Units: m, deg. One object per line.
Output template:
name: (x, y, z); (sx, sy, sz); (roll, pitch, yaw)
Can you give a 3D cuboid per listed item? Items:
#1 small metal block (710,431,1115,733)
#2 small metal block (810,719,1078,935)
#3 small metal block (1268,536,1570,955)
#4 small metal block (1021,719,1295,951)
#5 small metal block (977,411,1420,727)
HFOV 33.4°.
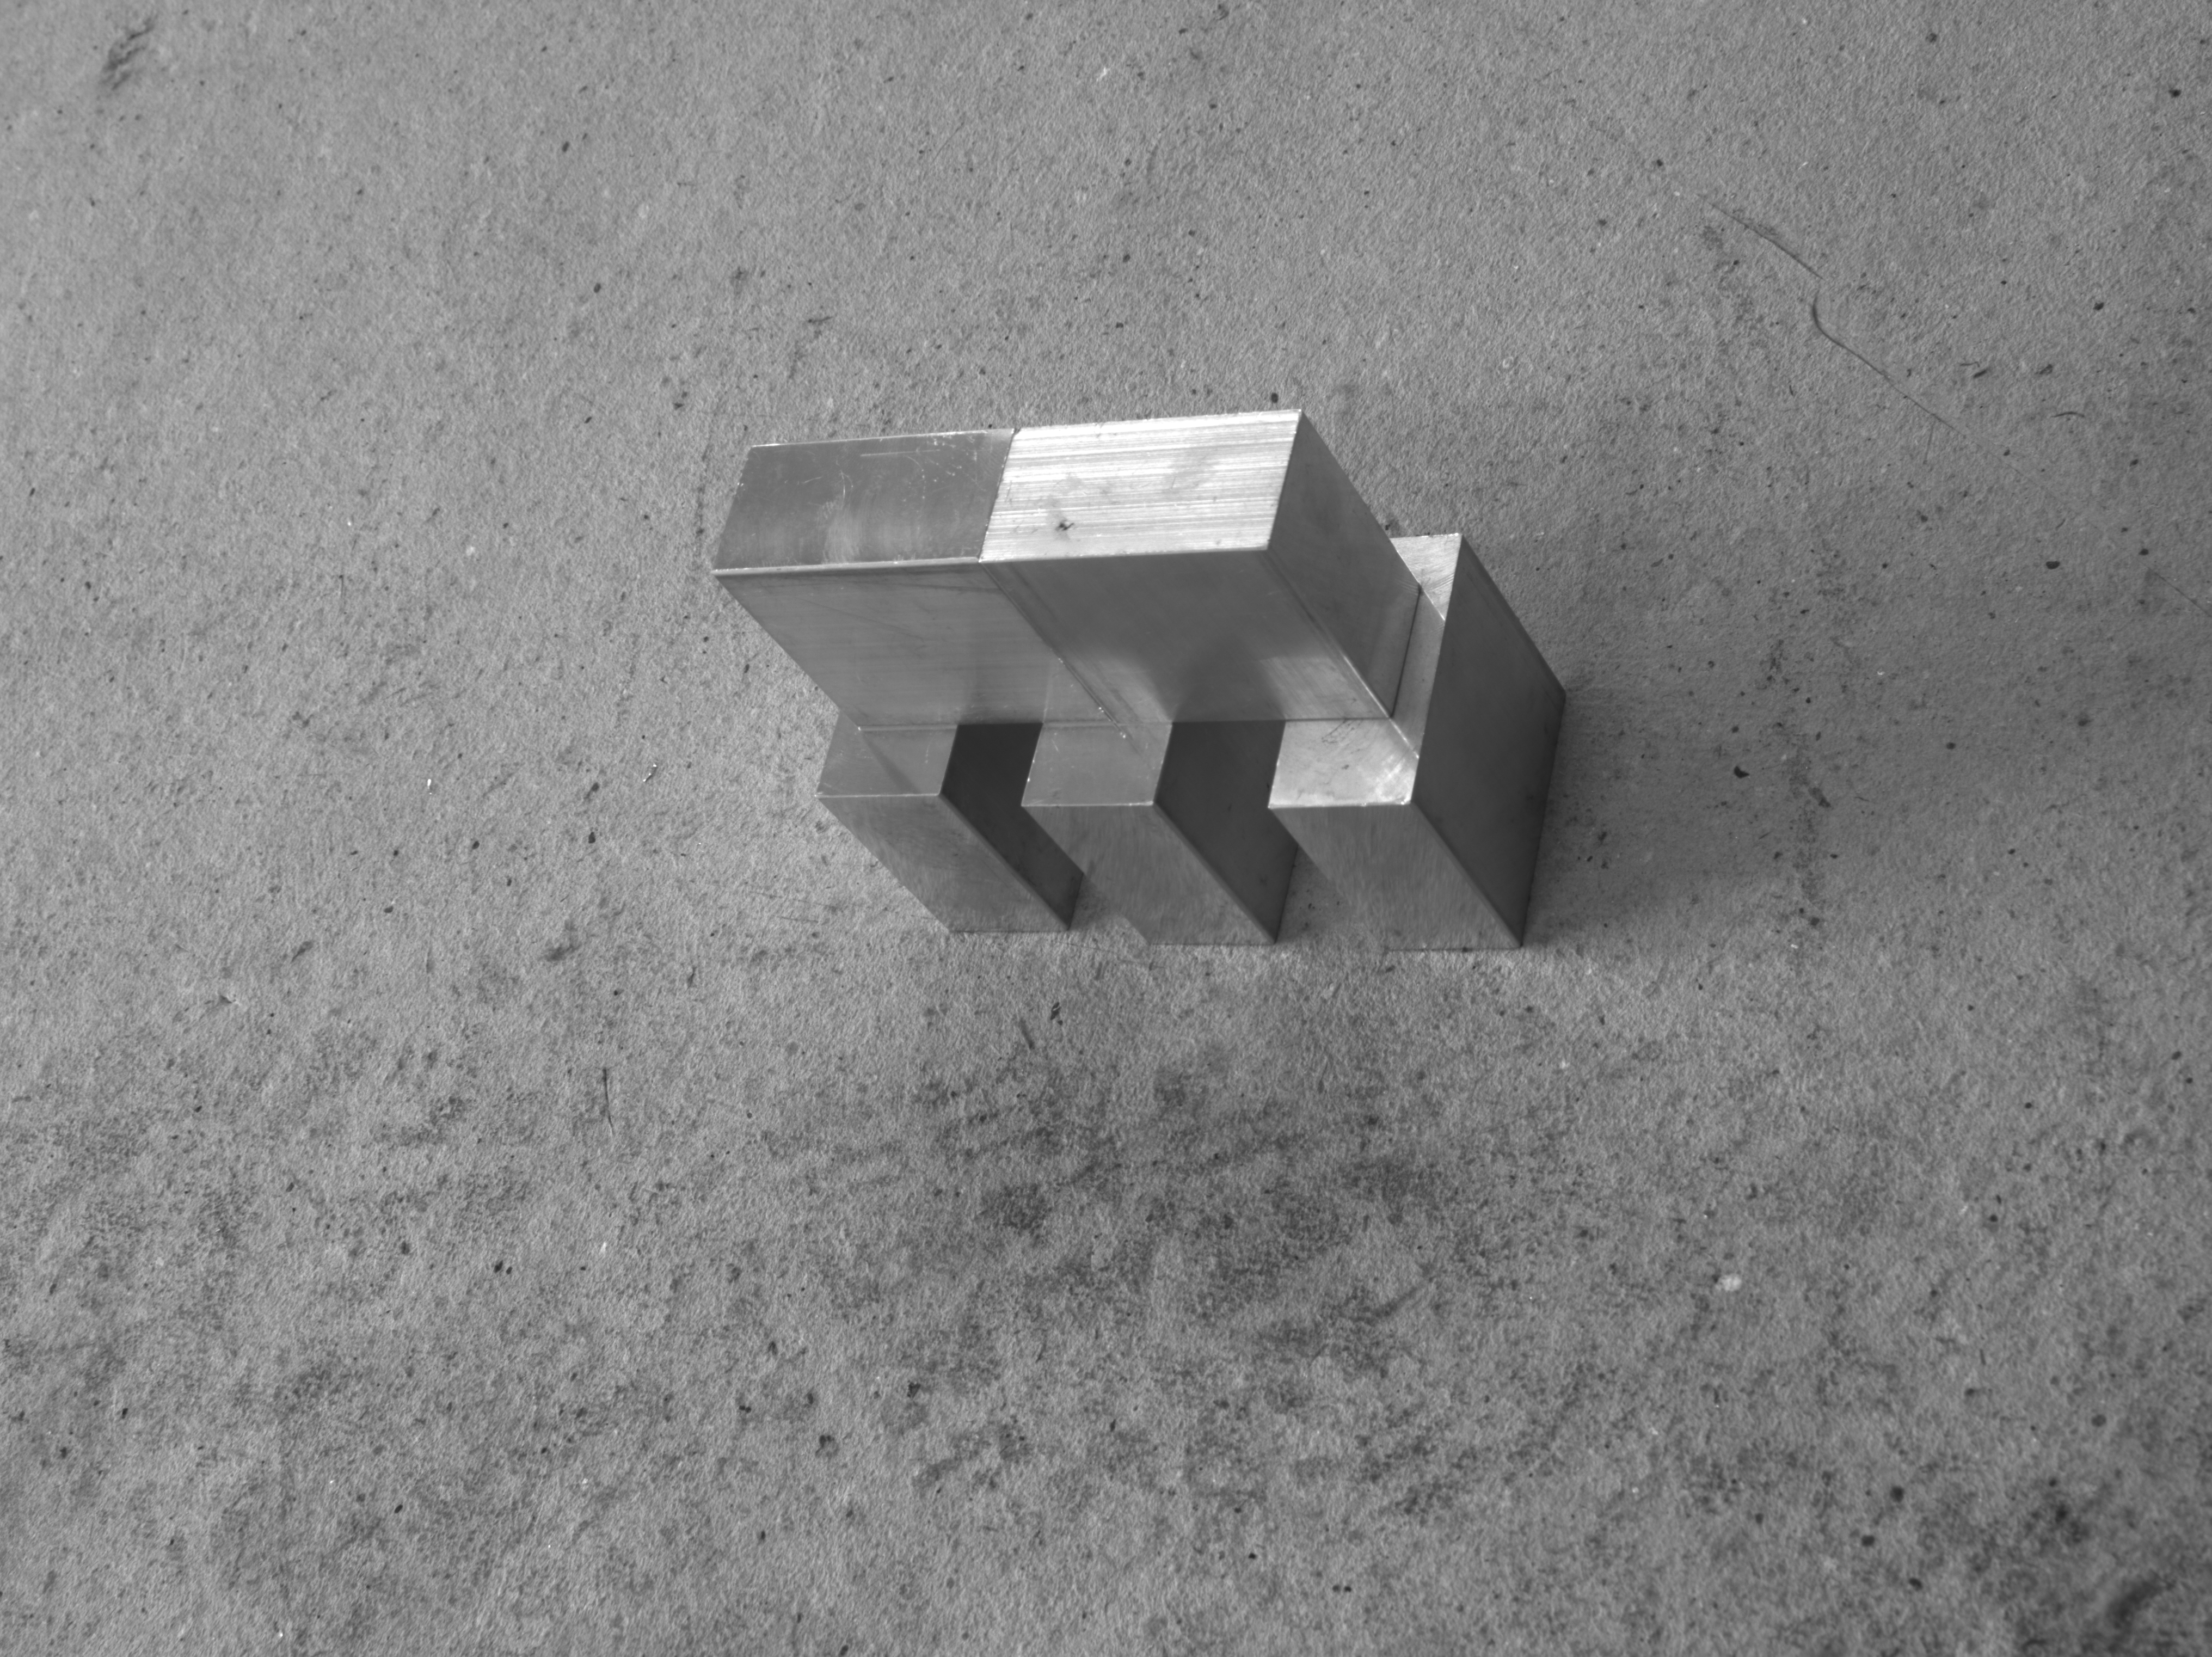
small metal block: (-0.028, -0.039, 0.606); (0.050, 0.050, 0.025); (0, 61, 28)
small metal block: (-0.023, -0.015, 0.651); (0.025, 0.050, 0.050); (-1, 61, 29)
small metal block: (0.053, -0.013, 0.610); (0.025, 0.050, 0.050); (-2, 60, 28)
small metal block: (0.013, -0.013, 0.631); (0.025, 0.050, 0.050); (-2, 60, 28)
small metal block: (0.015, -0.040, 0.581); (0.050, 0.050, 0.025); (0, 61, 28)
